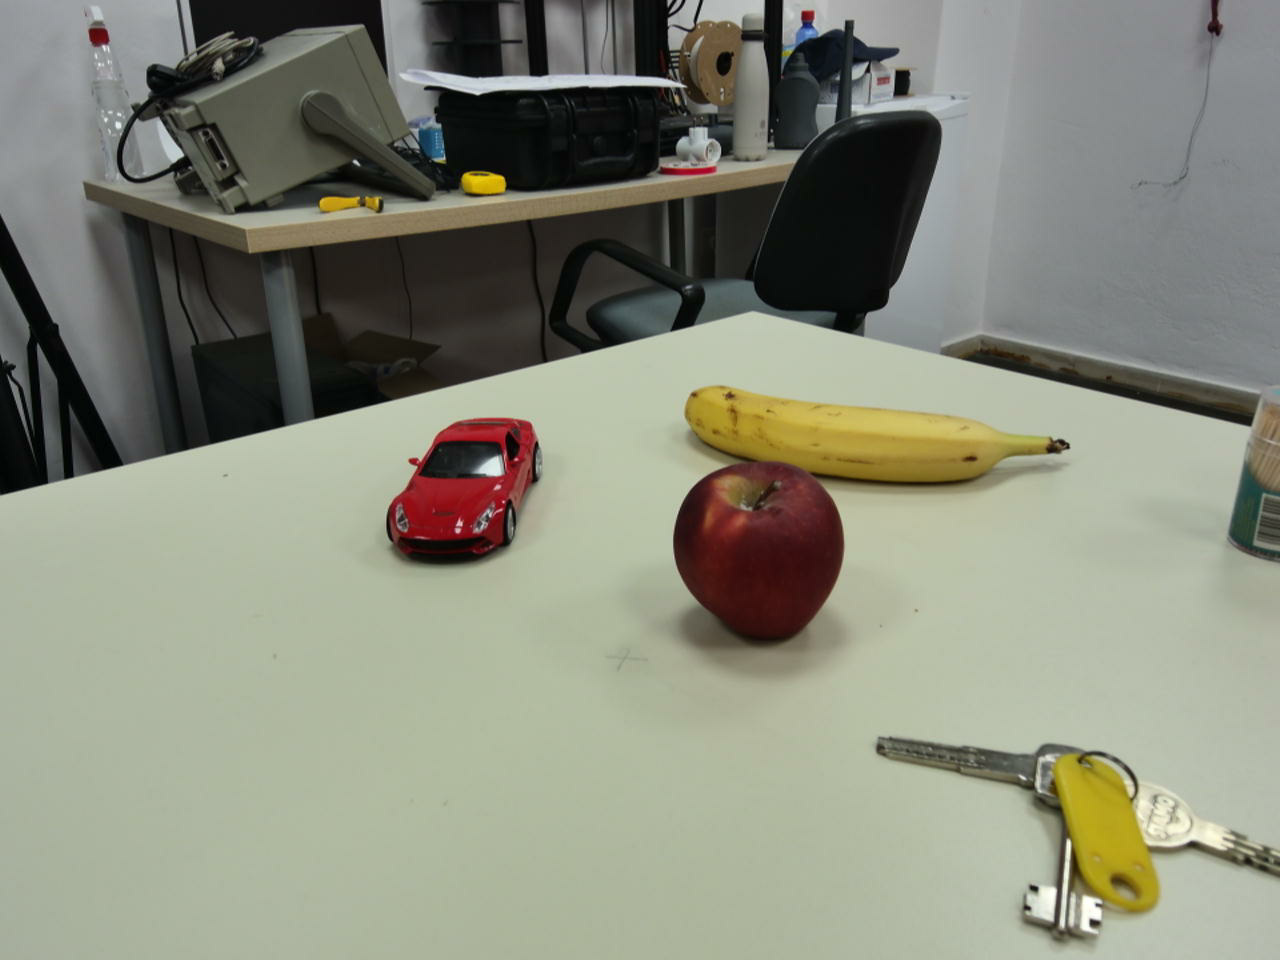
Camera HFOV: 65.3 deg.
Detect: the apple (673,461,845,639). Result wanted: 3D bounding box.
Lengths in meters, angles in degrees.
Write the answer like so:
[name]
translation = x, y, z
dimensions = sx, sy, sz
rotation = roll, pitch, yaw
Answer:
[apple]
translation = 0.049, 0.027, 0.407
dimensions = 0.070, 0.072, 0.070
rotation = 0, 22, 0
